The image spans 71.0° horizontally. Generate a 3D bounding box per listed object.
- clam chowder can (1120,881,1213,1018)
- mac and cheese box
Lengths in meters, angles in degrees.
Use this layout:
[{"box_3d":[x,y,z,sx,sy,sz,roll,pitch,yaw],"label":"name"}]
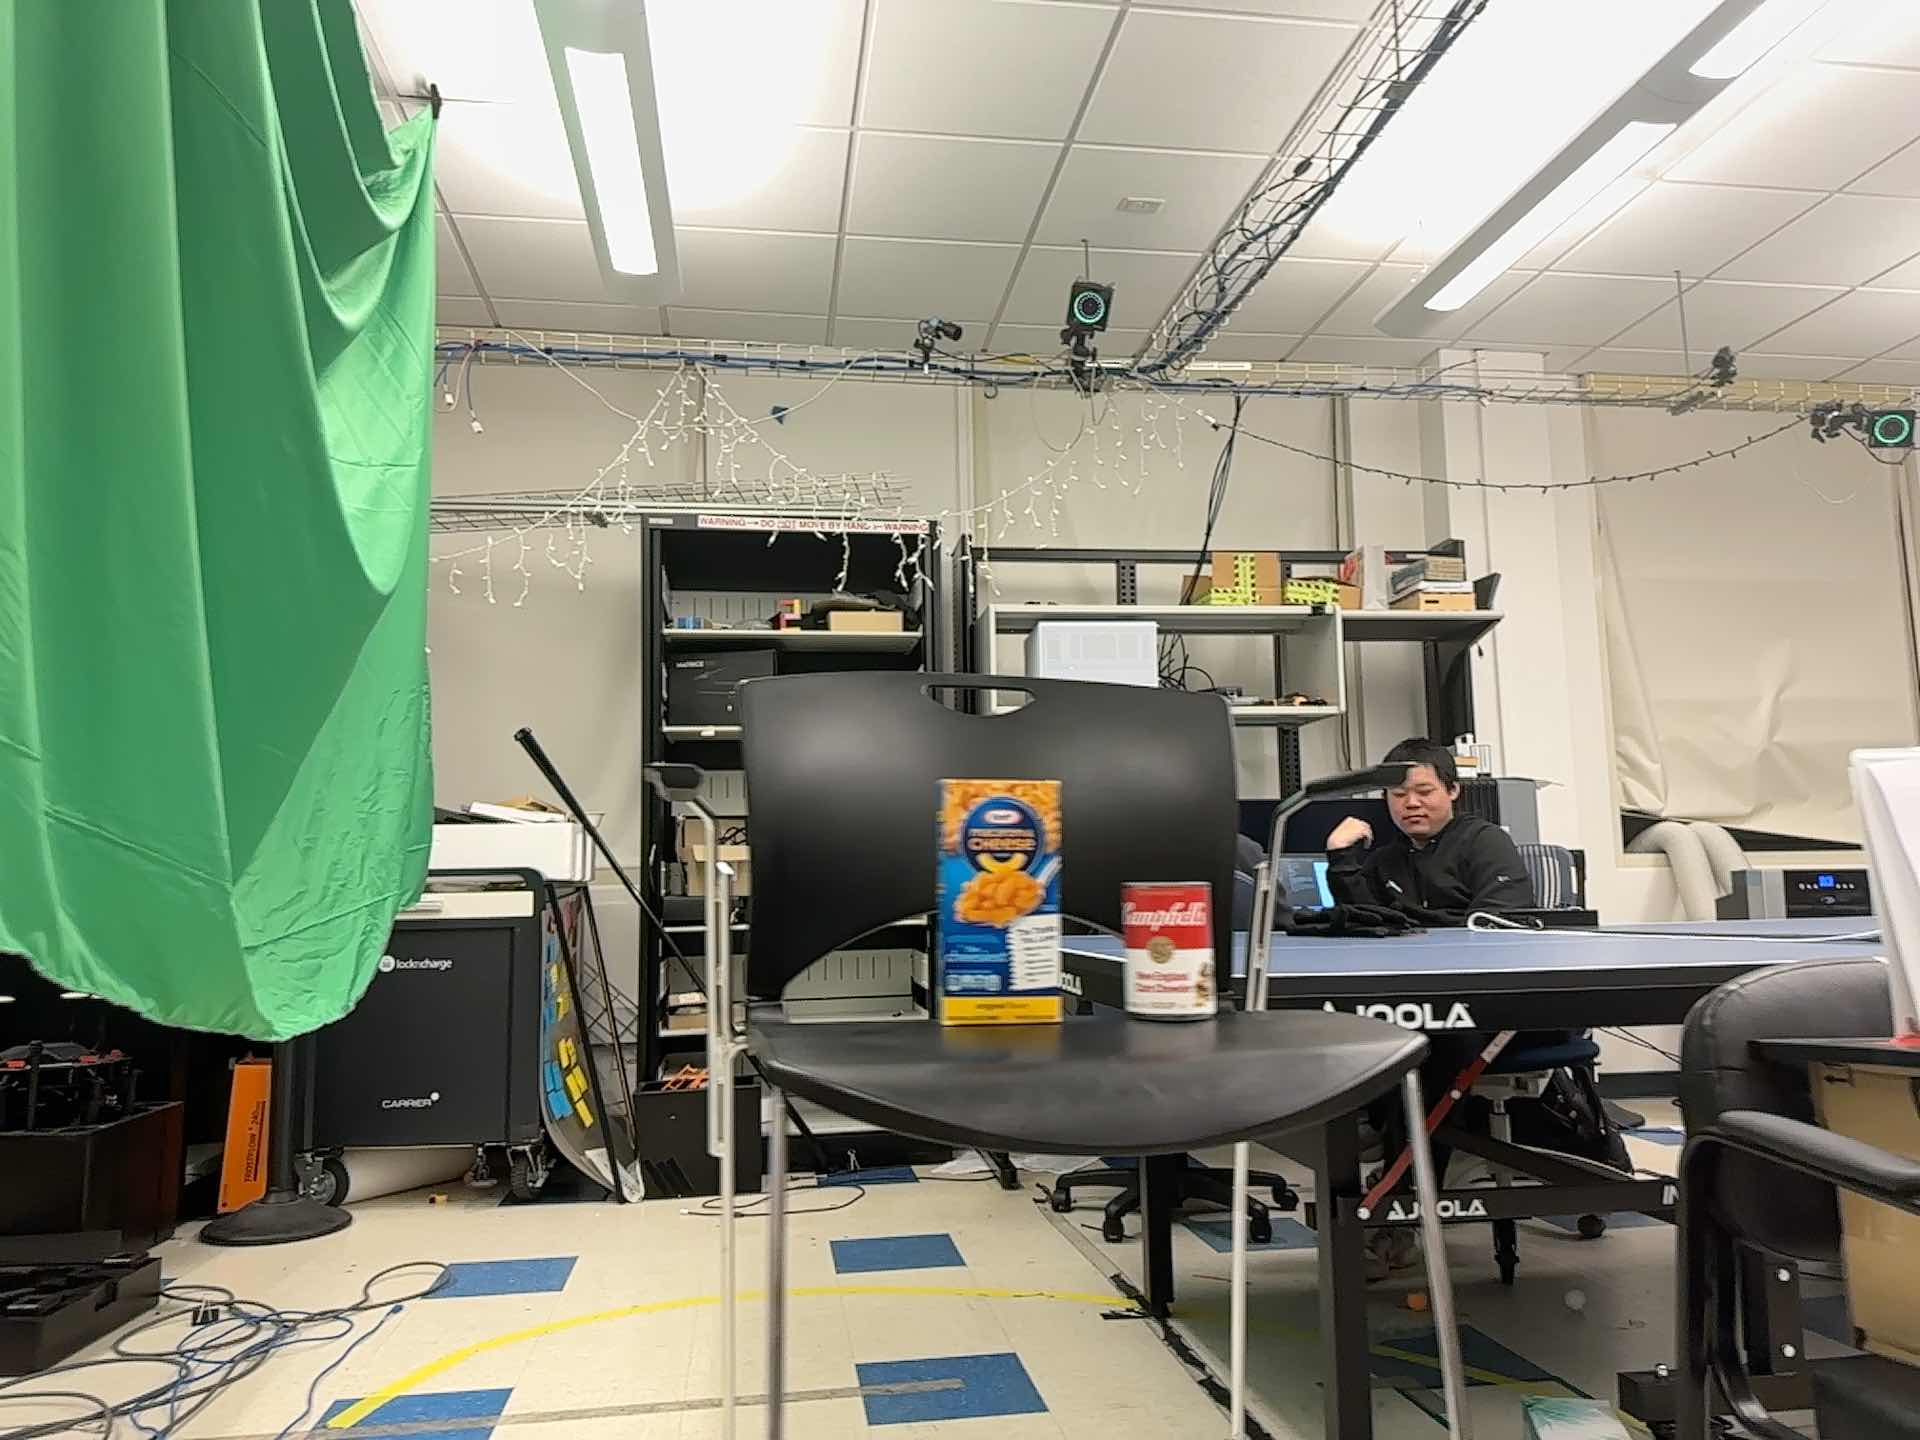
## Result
[{"box_3d":[0.161,0.178,1.051,0.068,0.102,0.068,-1,-8,0],"label":"clam chowder can"},{"box_3d":[0.029,0.135,1.021,0.088,0.181,0.035,0,-6,-4],"label":"mac and cheese box"}]
